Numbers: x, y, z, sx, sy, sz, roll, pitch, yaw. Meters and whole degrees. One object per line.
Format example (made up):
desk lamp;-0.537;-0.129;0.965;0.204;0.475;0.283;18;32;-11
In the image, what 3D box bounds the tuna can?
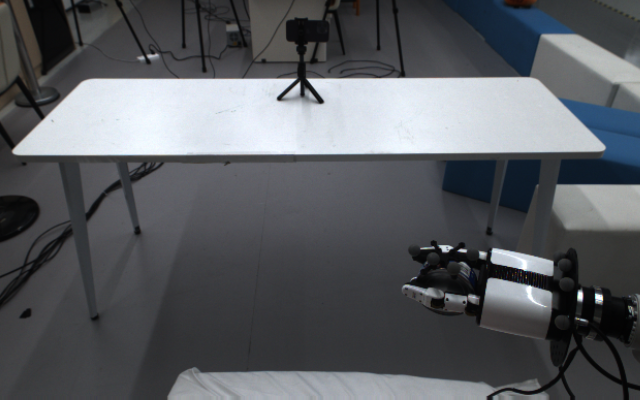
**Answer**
tuna can;0.183;0.122;0.694;0.085;0.085;0.034;15;33;18
